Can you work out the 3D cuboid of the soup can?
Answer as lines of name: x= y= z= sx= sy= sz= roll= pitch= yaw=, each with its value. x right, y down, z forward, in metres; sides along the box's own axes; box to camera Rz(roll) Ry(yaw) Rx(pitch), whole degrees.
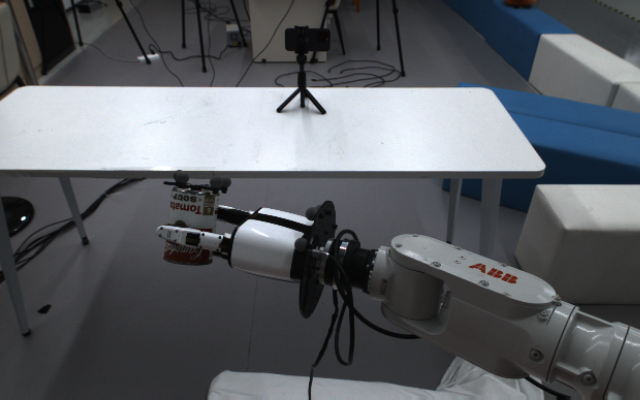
soup can: x=-0.180 y=0.037 z=0.683 sx=0.067 sy=0.101 sz=0.067 roll=7 pitch=3 yaw=0
